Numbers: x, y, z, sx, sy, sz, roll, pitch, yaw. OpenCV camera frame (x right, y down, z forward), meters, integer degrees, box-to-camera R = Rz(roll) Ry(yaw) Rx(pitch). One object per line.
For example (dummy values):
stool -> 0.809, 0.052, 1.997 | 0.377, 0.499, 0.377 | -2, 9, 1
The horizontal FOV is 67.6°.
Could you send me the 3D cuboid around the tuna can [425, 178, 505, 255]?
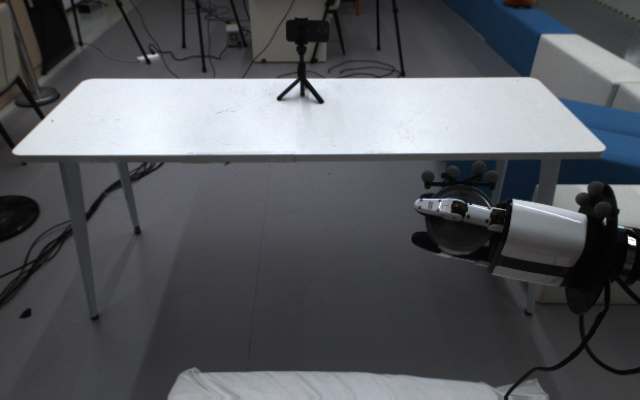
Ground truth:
tuna can -> 0.177, 0.023, 0.613 | 0.085, 0.034, 0.085 | -4, 70, 11
